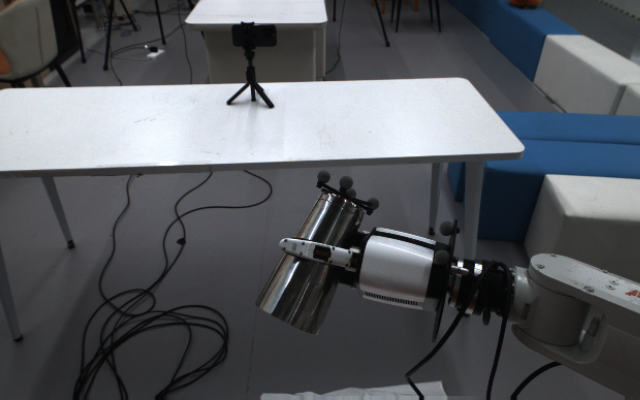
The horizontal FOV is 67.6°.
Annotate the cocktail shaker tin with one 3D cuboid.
[{"bbox_3d":[-0.004,0.076,0.640,0.093,0.093,0.170,21,81,25],"label":"cocktail shaker tin"}]
